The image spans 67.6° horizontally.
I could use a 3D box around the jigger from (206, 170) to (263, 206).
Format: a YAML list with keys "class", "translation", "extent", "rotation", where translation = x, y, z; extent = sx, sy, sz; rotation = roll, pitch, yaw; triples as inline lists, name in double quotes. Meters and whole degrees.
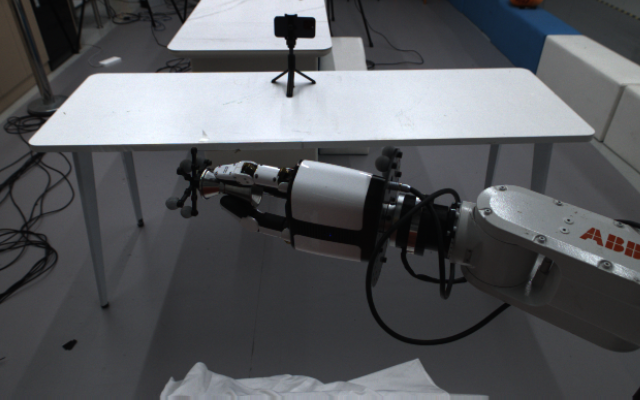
- class: "jigger"
  translation: [-0.103, -0.020, 0.599]
  extent: [0.071, 0.043, 0.043]
  rotation: [6, 35, 12]
